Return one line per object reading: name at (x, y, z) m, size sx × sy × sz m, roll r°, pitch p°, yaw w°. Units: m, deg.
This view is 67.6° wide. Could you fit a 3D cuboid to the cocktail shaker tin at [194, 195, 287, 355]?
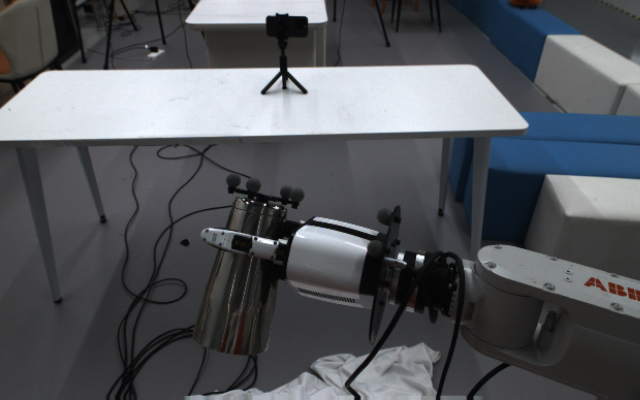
cocktail shaker tin at (-0.085, 0.084, 0.583) m, size 0.093 × 0.170 × 0.093 m, roll 13°, pitch 1°, yaw 0°
